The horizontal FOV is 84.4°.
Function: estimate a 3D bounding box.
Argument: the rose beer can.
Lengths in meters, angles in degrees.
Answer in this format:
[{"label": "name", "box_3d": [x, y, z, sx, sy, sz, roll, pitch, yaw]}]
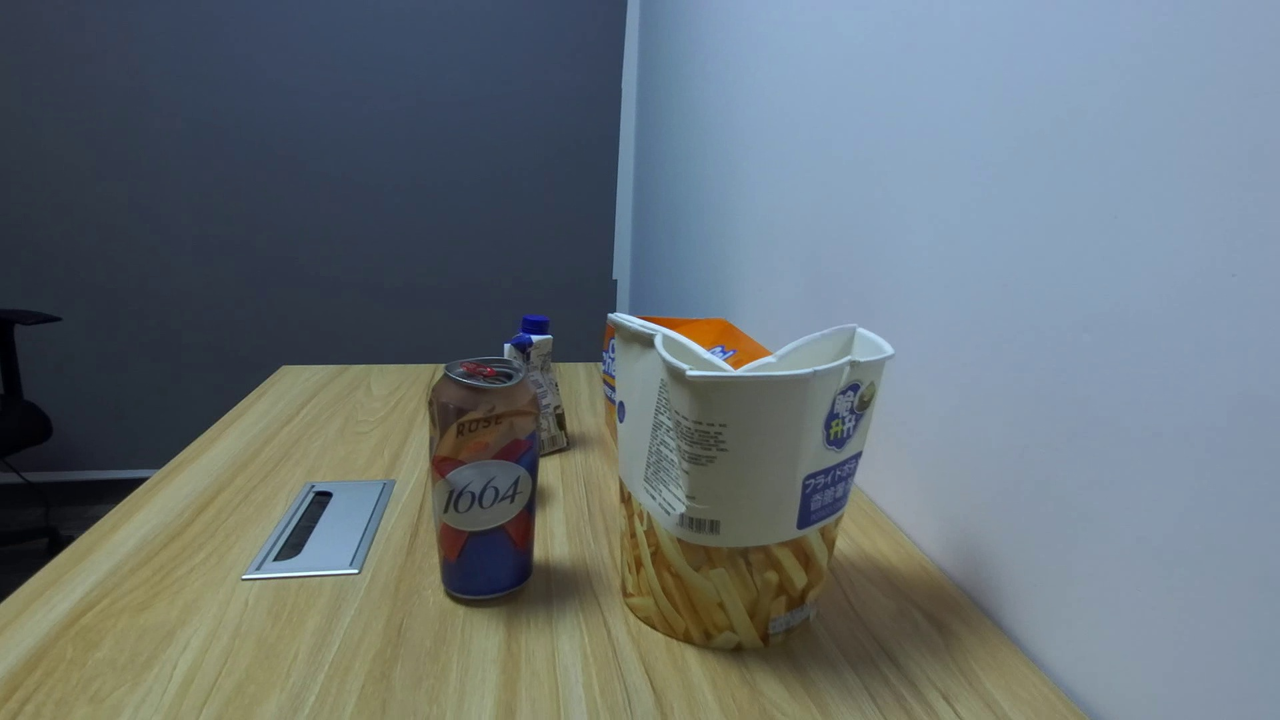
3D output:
[{"label": "rose beer can", "box_3d": [-0.108, 0.086, 0.497, 0.076, 0.167, 0.065, -2, 18, -21]}]

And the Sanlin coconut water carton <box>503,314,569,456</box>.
[{"label": "Sanlin coconut water carton", "box_3d": [-0.119, 0.027, 0.749, 0.069, 0.145, 0.056, -20, 17, -36]}]

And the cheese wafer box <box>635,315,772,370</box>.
[{"label": "cheese wafer box", "box_3d": [0.066, 0.044, 0.717, 0.153, 0.132, 0.229, 0, 17, -22]}]

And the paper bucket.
[{"label": "paper bucket", "box_3d": [0.073, 0.074, 0.499, 0.163, 0.202, 0.168, -2, 19, -19]}]
